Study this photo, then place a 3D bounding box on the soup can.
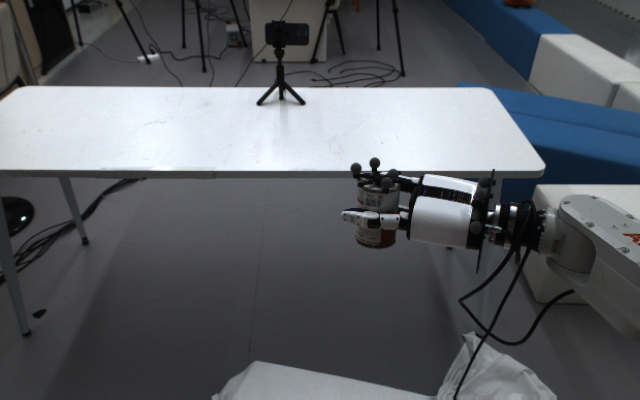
[{"bbox_3d":[0.092,0.018,0.771,0.067,0.101,0.067,1,25,0],"label":"soup can"}]
